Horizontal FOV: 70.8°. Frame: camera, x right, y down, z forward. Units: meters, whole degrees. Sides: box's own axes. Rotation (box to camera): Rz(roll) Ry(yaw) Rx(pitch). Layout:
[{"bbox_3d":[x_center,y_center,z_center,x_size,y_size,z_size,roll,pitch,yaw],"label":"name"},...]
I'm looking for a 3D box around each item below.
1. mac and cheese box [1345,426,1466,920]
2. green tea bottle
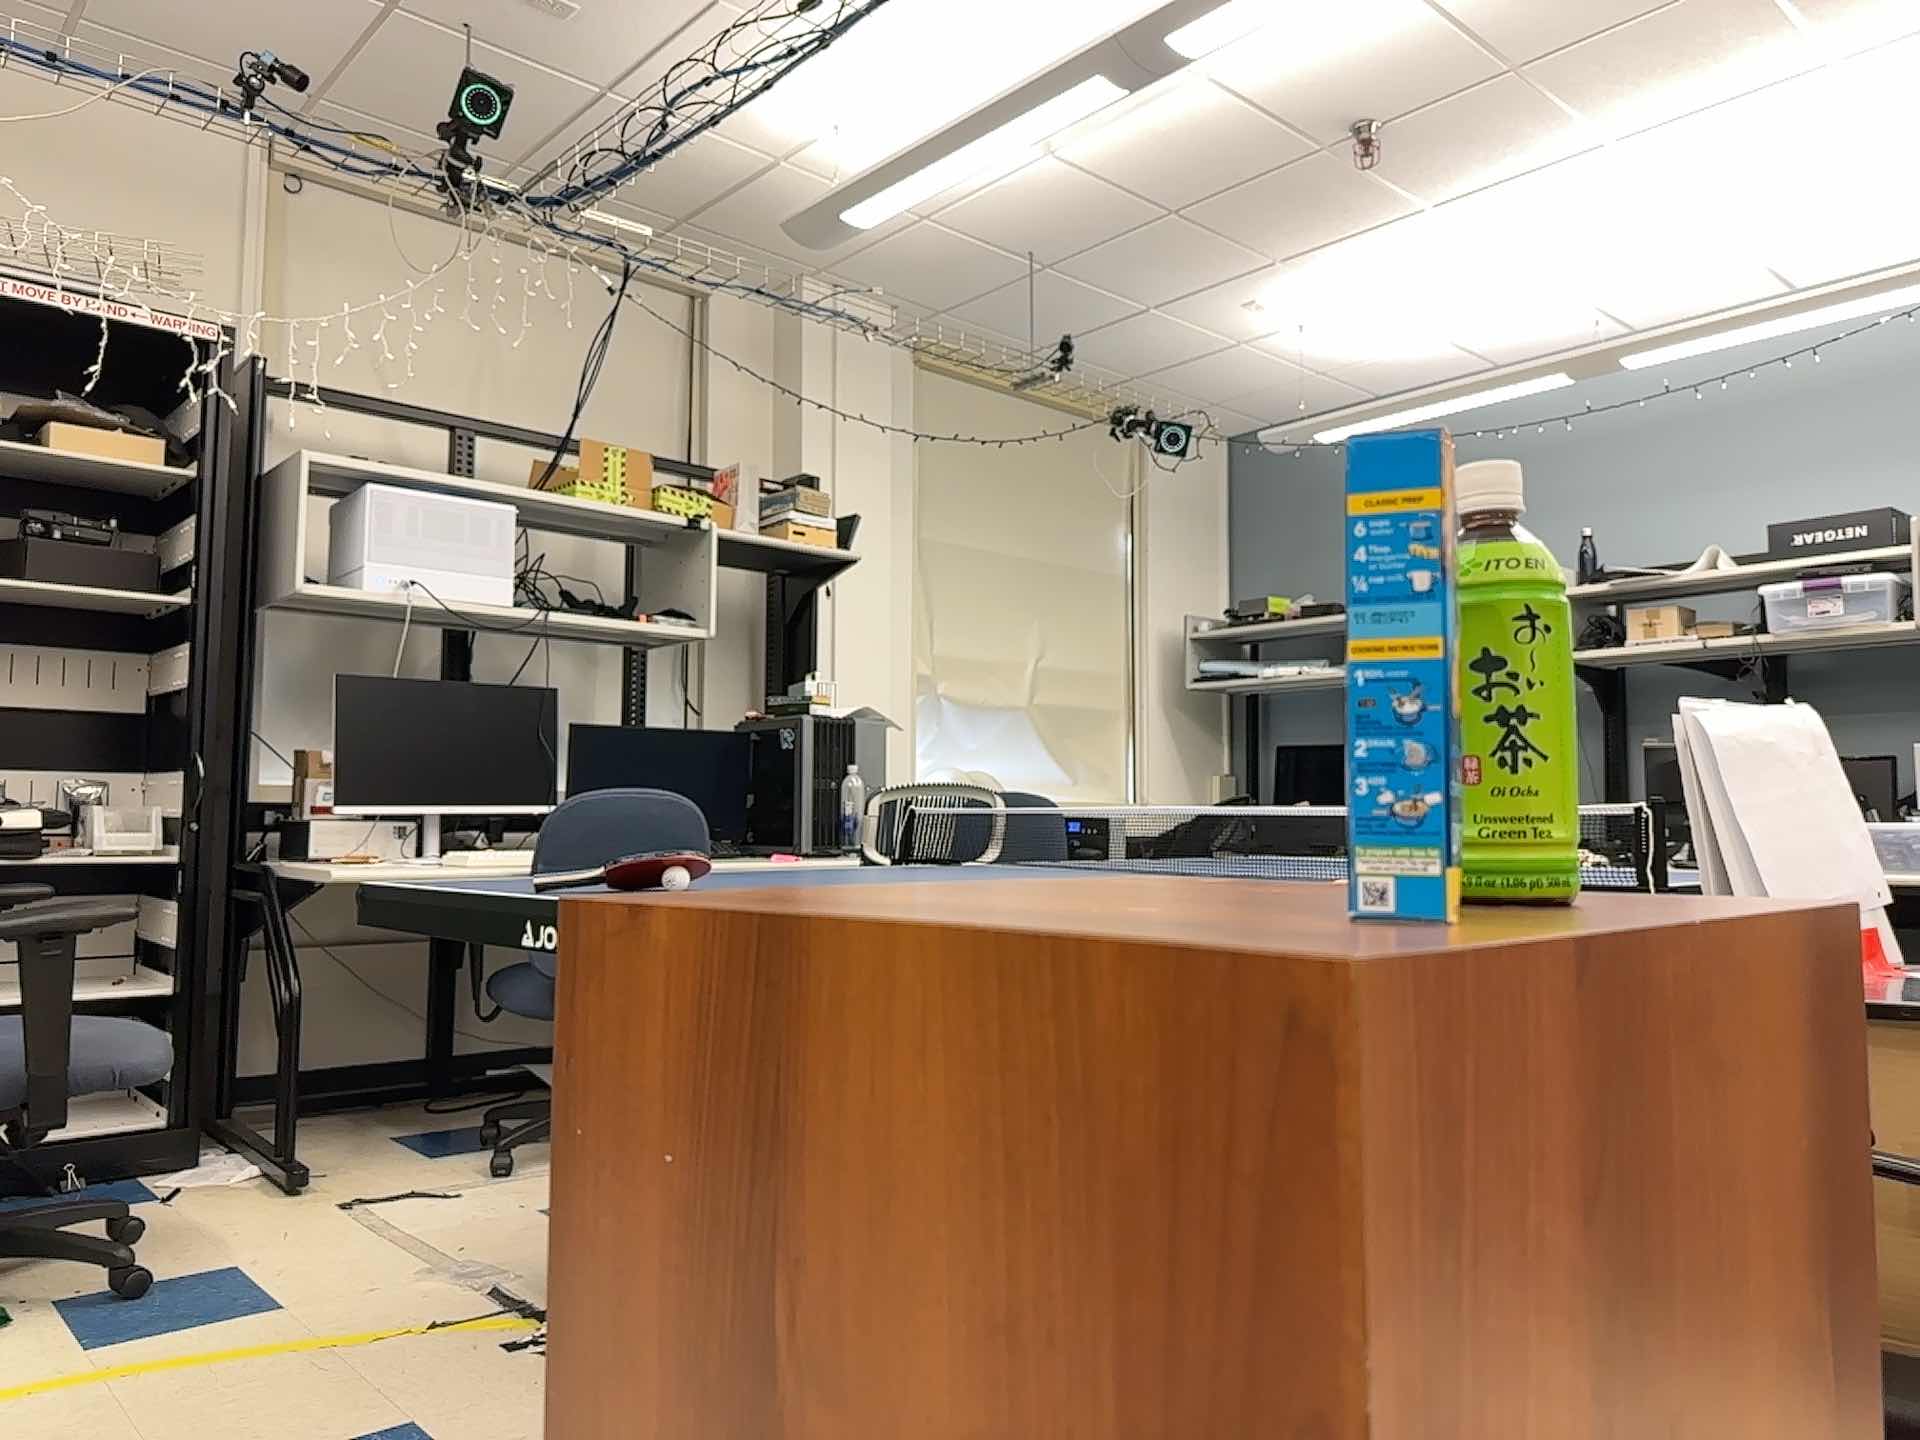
[{"bbox_3d":[0.179,-0.014,0.542,0.035,0.181,0.088,-2,-6,24],"label":"mac and cheese box"},{"bbox_3d":[0.259,-0.018,0.651,0.073,0.212,0.073,1,-8,0],"label":"green tea bottle"}]
